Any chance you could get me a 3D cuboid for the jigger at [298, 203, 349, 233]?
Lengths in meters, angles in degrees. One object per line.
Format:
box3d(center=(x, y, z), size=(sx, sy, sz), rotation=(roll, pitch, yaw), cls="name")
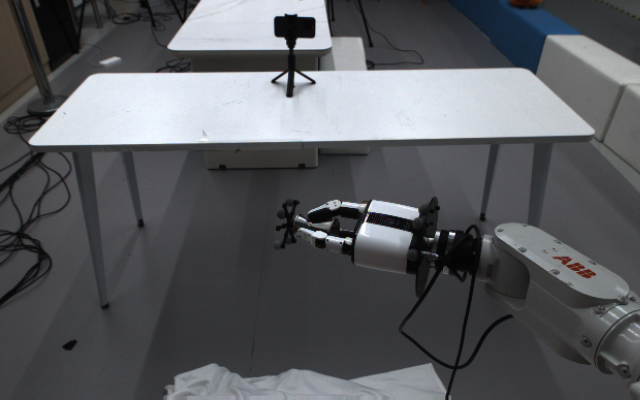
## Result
box3d(center=(-0.001, 0.043, 0.811), size=(0.071, 0.043, 0.043), rotation=(7, 34, 23), cls="jigger")
